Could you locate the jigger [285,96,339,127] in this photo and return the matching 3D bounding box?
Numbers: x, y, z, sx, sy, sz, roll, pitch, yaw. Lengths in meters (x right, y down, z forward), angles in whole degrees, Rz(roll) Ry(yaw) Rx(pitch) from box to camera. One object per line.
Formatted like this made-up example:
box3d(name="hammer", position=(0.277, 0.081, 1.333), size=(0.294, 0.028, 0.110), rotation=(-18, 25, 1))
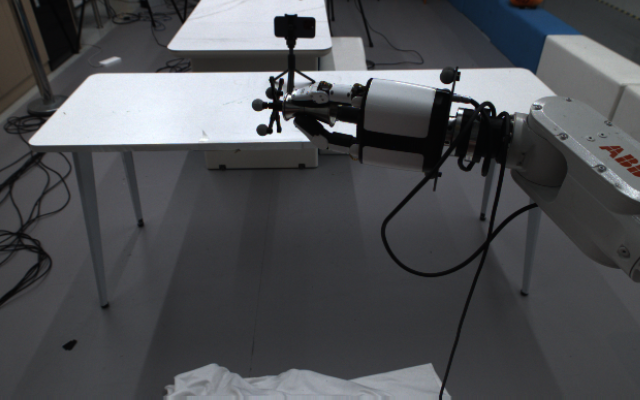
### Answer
box3d(name="jigger", position=(-0.007, -0.132, 0.668), size=(0.071, 0.043, 0.043), rotation=(8, 35, 14))
